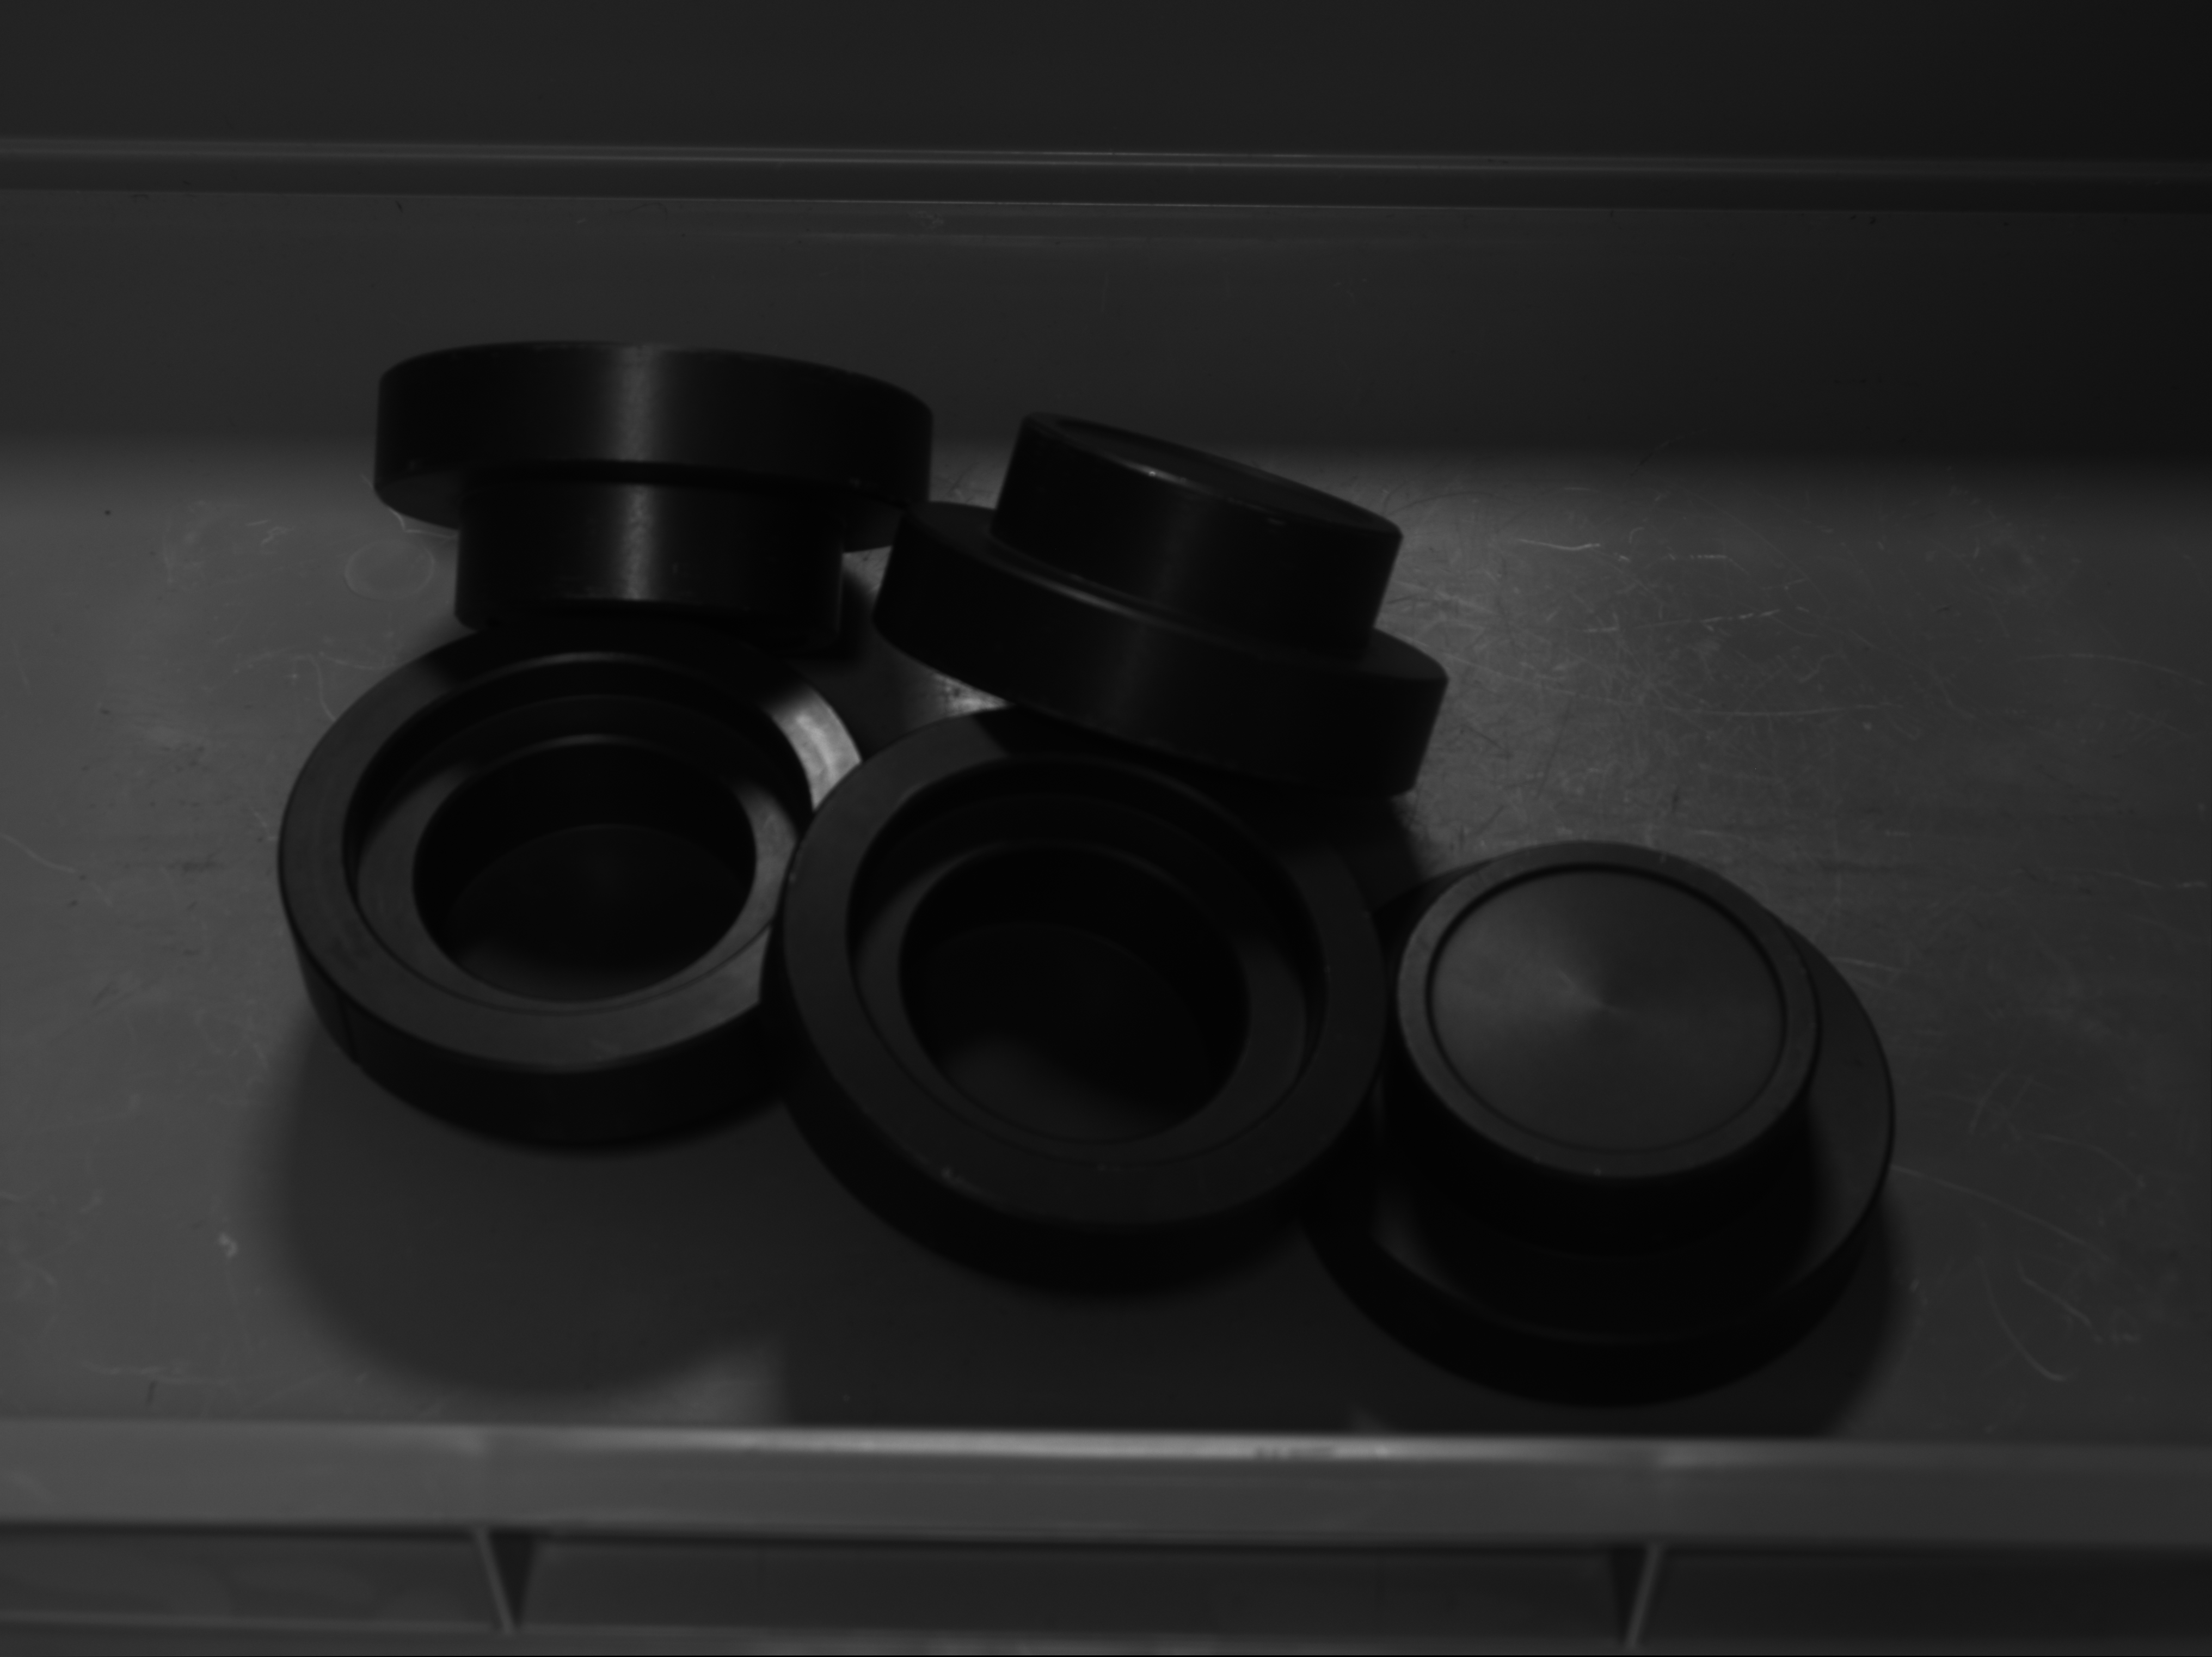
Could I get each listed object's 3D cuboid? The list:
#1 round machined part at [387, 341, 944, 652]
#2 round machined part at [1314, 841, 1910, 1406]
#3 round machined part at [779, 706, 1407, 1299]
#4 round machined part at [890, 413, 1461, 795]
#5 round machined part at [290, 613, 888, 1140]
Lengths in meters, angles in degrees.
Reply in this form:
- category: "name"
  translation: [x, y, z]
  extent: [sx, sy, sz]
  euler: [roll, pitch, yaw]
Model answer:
- category: "round machined part"
  translation: [-0.079, -0.056, 0.653]
  extent: [0.098, 0.098, 0.042]
  euler: [2, 85, 2]
- category: "round machined part"
  translation: [0.081, 0.041, 0.594]
  extent: [0.098, 0.042, 0.098]
  euler: [0, 50, 0]
- category: "round machined part"
  translation: [-0.004, 0.032, 0.587]
  extent: [0.098, 0.042, 0.098]
  euler: [7, 55, -11]
- category: "round machined part"
  translation: [0.015, -0.042, 0.629]
  extent: [0.098, 0.042, 0.098]
  euler: [16, 10, -3]
- category: "round machined part"
  translation: [-0.085, 0.013, 0.617]
  extent: [0.098, 0.042, 0.098]
  euler: [0, 50, 0]
